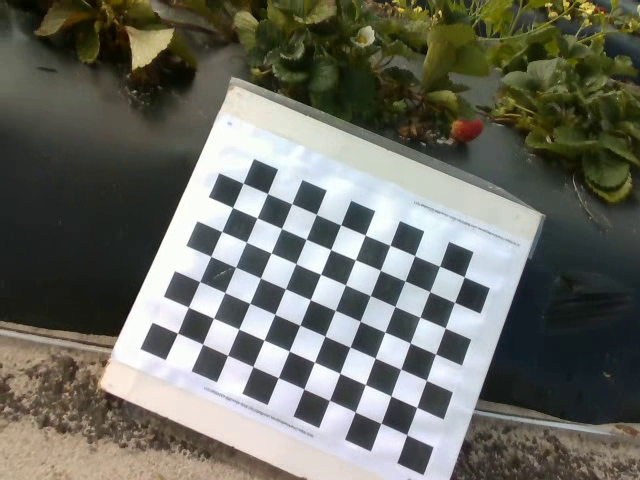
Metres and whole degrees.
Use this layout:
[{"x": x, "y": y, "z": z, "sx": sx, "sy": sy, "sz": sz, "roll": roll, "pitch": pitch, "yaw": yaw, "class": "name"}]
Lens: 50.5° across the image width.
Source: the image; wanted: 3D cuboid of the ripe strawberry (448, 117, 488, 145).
[{"x": 0.103, "y": -0.077, "z": 0.462, "sx": 0.027, "sy": 0.022, "sz": 0.021, "roll": -4, "pitch": 1, "yaw": 7, "class": "ripe strawberry"}]
